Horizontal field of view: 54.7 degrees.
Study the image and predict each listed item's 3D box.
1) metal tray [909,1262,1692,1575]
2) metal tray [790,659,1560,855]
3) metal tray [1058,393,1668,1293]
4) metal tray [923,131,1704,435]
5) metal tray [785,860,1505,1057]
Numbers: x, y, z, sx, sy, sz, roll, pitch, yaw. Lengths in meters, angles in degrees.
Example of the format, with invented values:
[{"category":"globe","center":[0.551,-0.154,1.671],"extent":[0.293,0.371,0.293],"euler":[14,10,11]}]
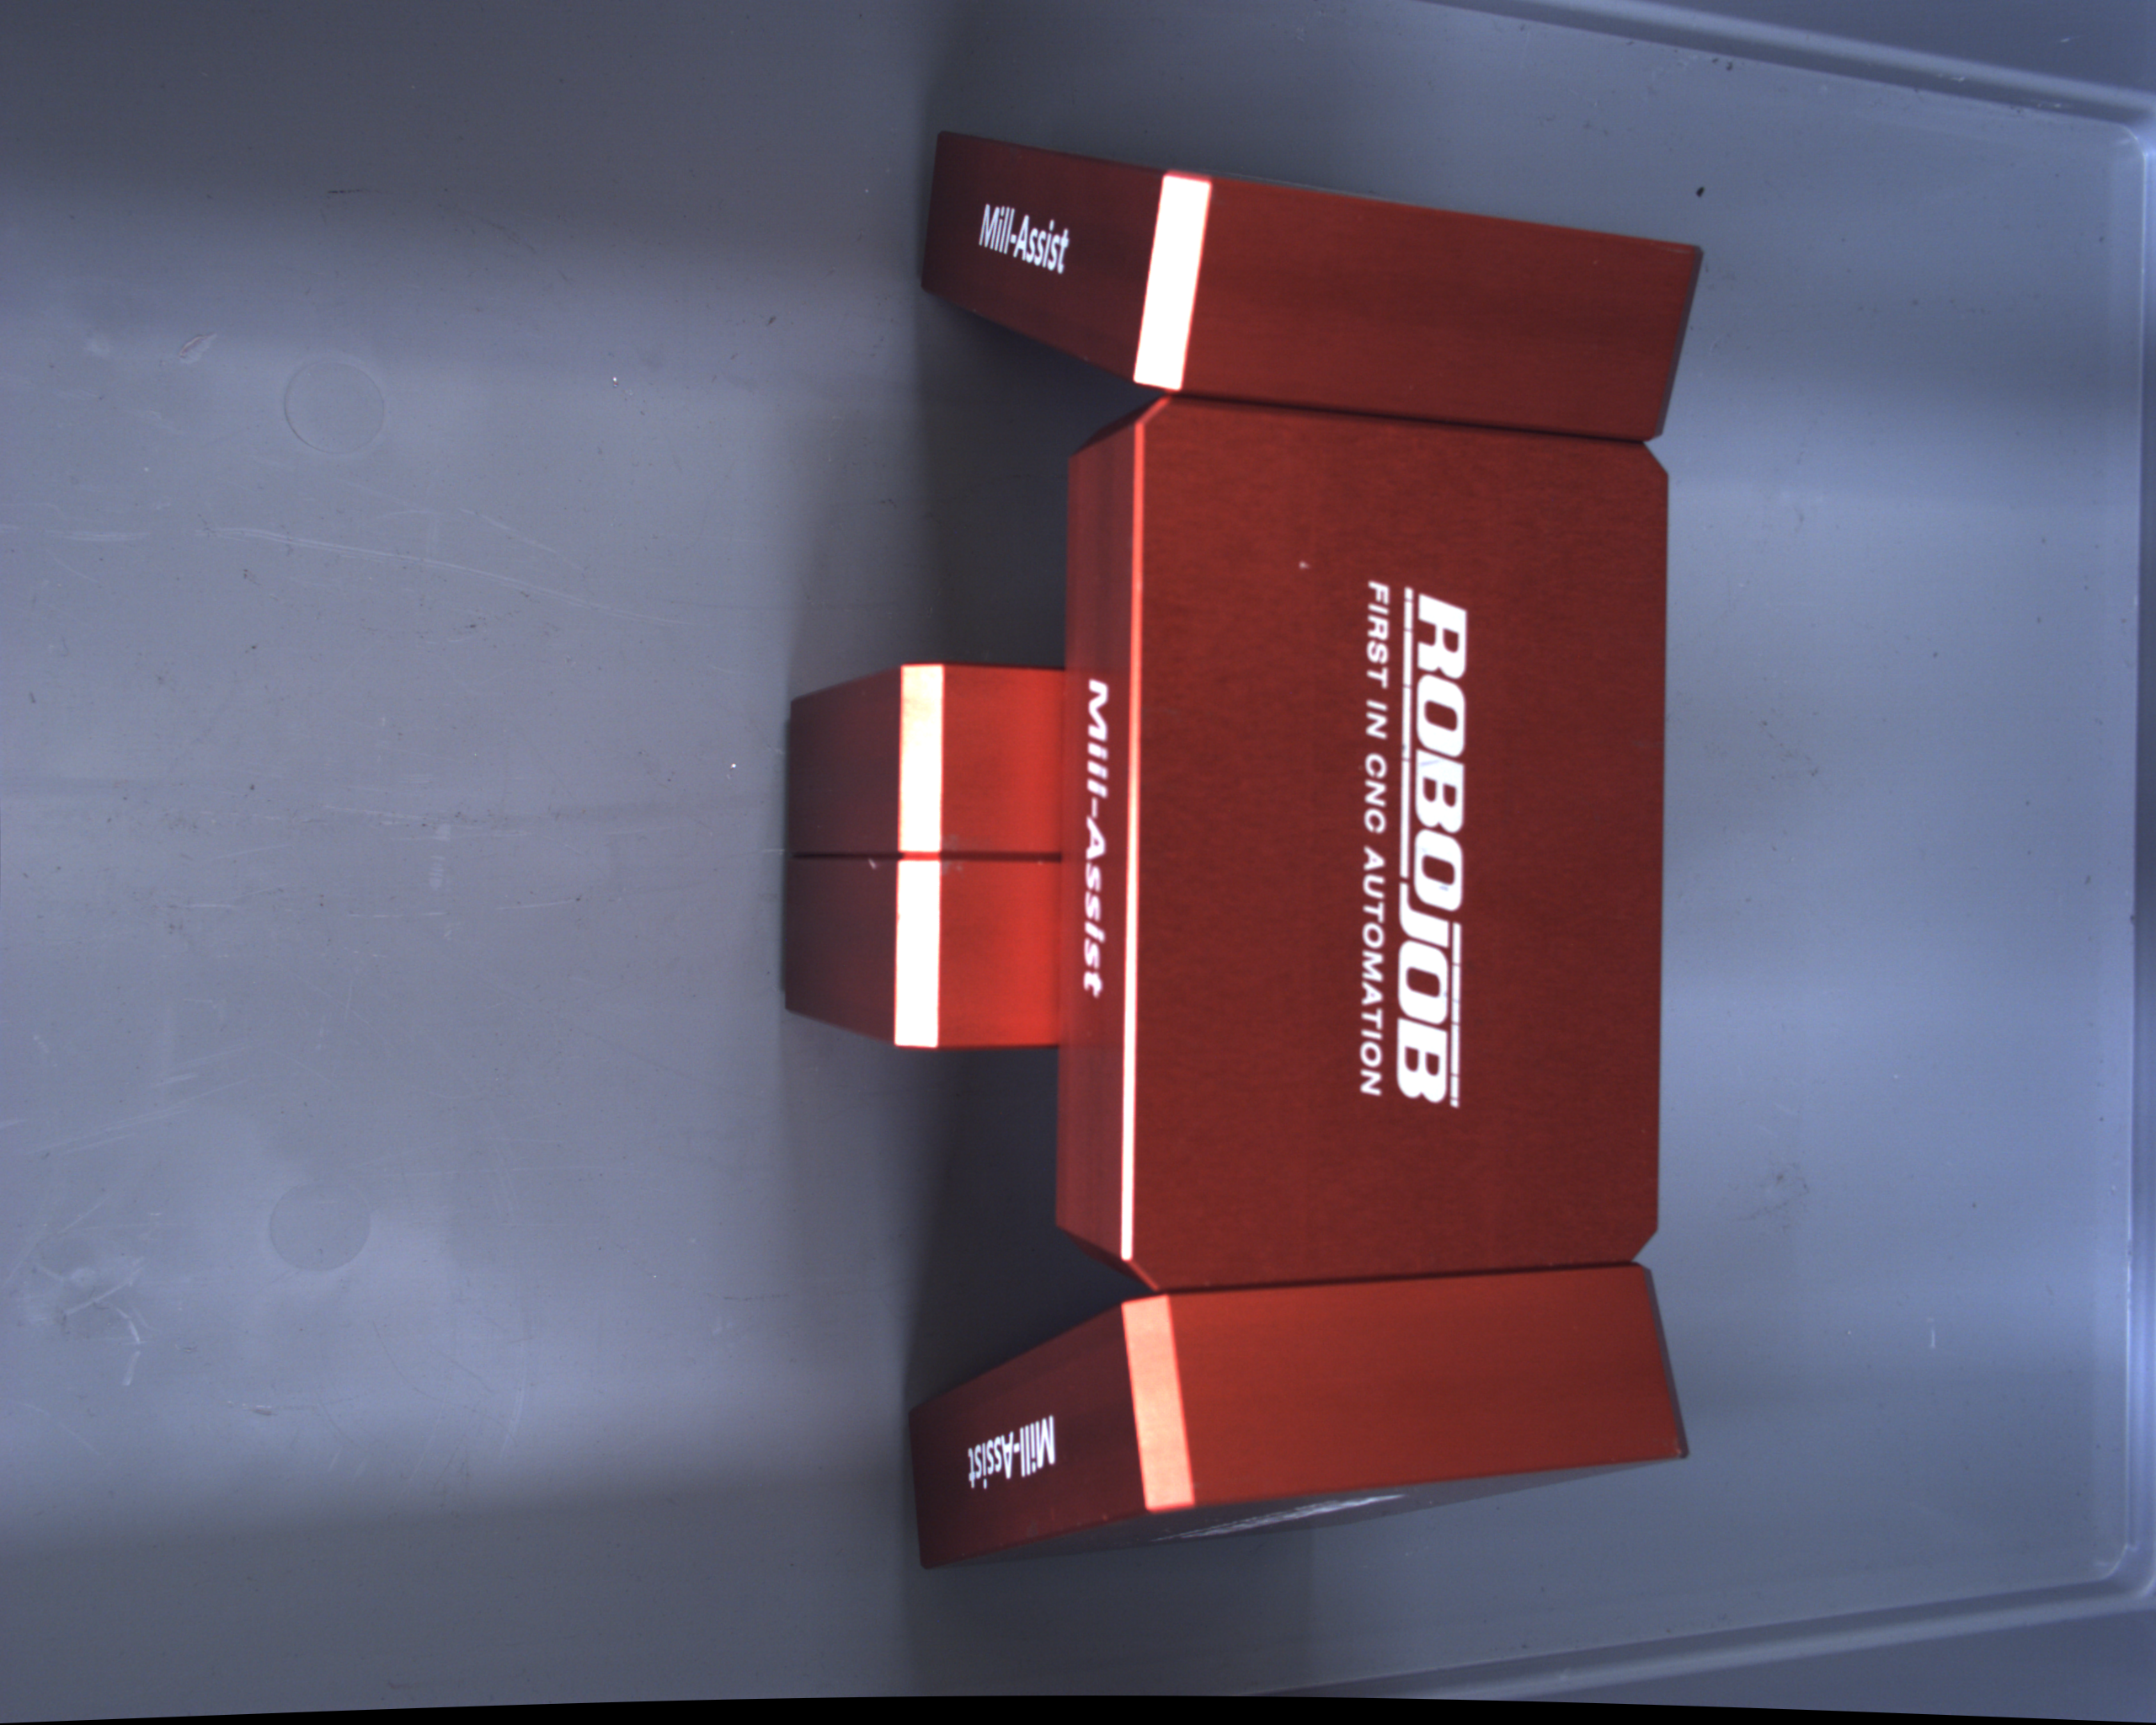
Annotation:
[{"category":"metal tray","center":[0.031,0.099,0.363],"extent":[0.091,0.129,0.030],"euler":[1,68,-21]},{"category":"metal tray","center":[0.021,-0.016,0.382],"extent":[0.131,0.090,0.030],"euler":[1,90,-20]},{"category":"metal tray","center":[0.045,-0.002,0.327],"extent":[0.091,0.030,0.129],"euler":[1,90,-21]},{"category":"metal tray","center":[0.033,-0.104,0.364],"extent":[0.091,0.130,0.030],"euler":[1,110,-20]},{"category":"metal tray","center":[0.020,0.015,0.382],"extent":[0.131,0.090,0.030],"euler":[1,90,-20]}]
